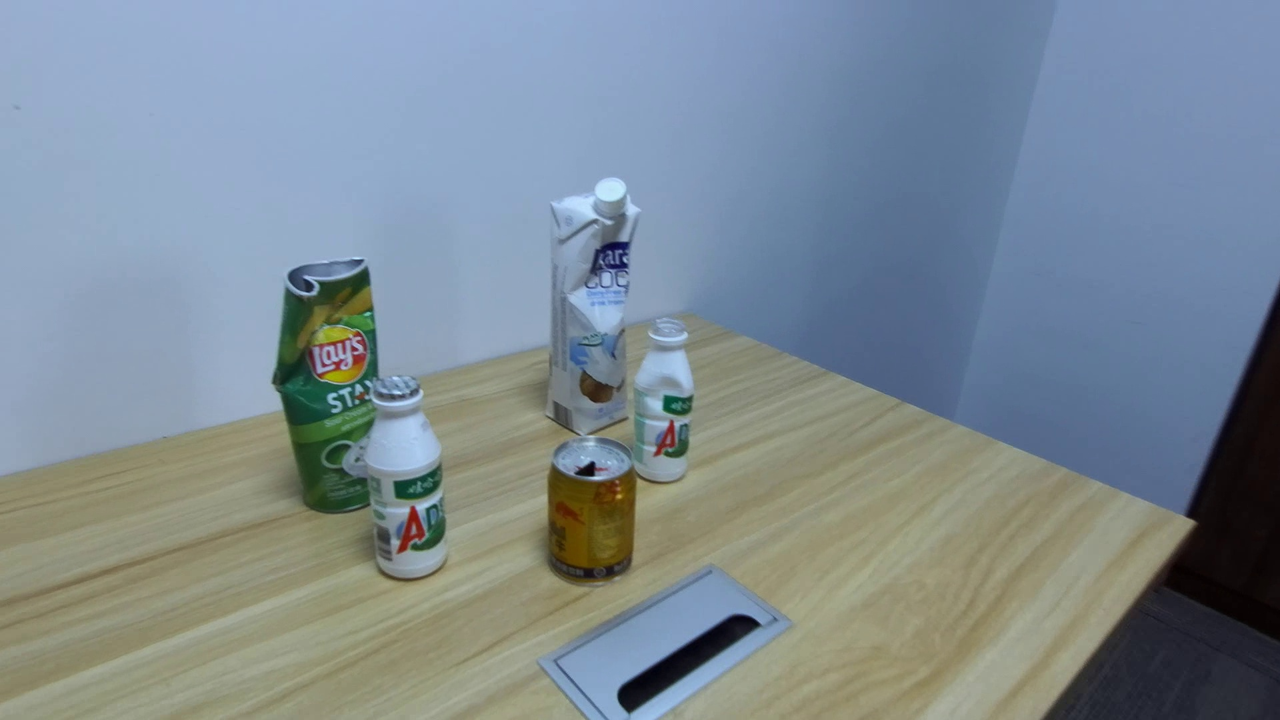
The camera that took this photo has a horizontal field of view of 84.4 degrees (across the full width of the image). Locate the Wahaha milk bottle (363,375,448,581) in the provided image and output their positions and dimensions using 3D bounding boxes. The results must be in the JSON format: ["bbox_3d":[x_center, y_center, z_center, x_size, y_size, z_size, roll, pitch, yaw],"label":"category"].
[{"bbox_3d":[-0.168,0.085,0.509,0.053,0.147,0.053,1,24,0],"label":"Wahaha milk bottle"}]

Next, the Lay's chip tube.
[{"bbox_3d":[-0.250,0.023,0.574,0.069,0.201,0.077,-2,26,-13],"label":"Lay's chip tube"}]

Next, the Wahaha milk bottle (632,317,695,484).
[{"bbox_3d":[0.022,0.037,0.638,0.055,0.149,0.055,3,25,-1],"label":"Wahaha milk bottle"}]

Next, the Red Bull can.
[{"bbox_3d":[-0.036,0.111,0.530,0.067,0.093,0.067,4,23,-1],"label":"Red Bull can"}]
